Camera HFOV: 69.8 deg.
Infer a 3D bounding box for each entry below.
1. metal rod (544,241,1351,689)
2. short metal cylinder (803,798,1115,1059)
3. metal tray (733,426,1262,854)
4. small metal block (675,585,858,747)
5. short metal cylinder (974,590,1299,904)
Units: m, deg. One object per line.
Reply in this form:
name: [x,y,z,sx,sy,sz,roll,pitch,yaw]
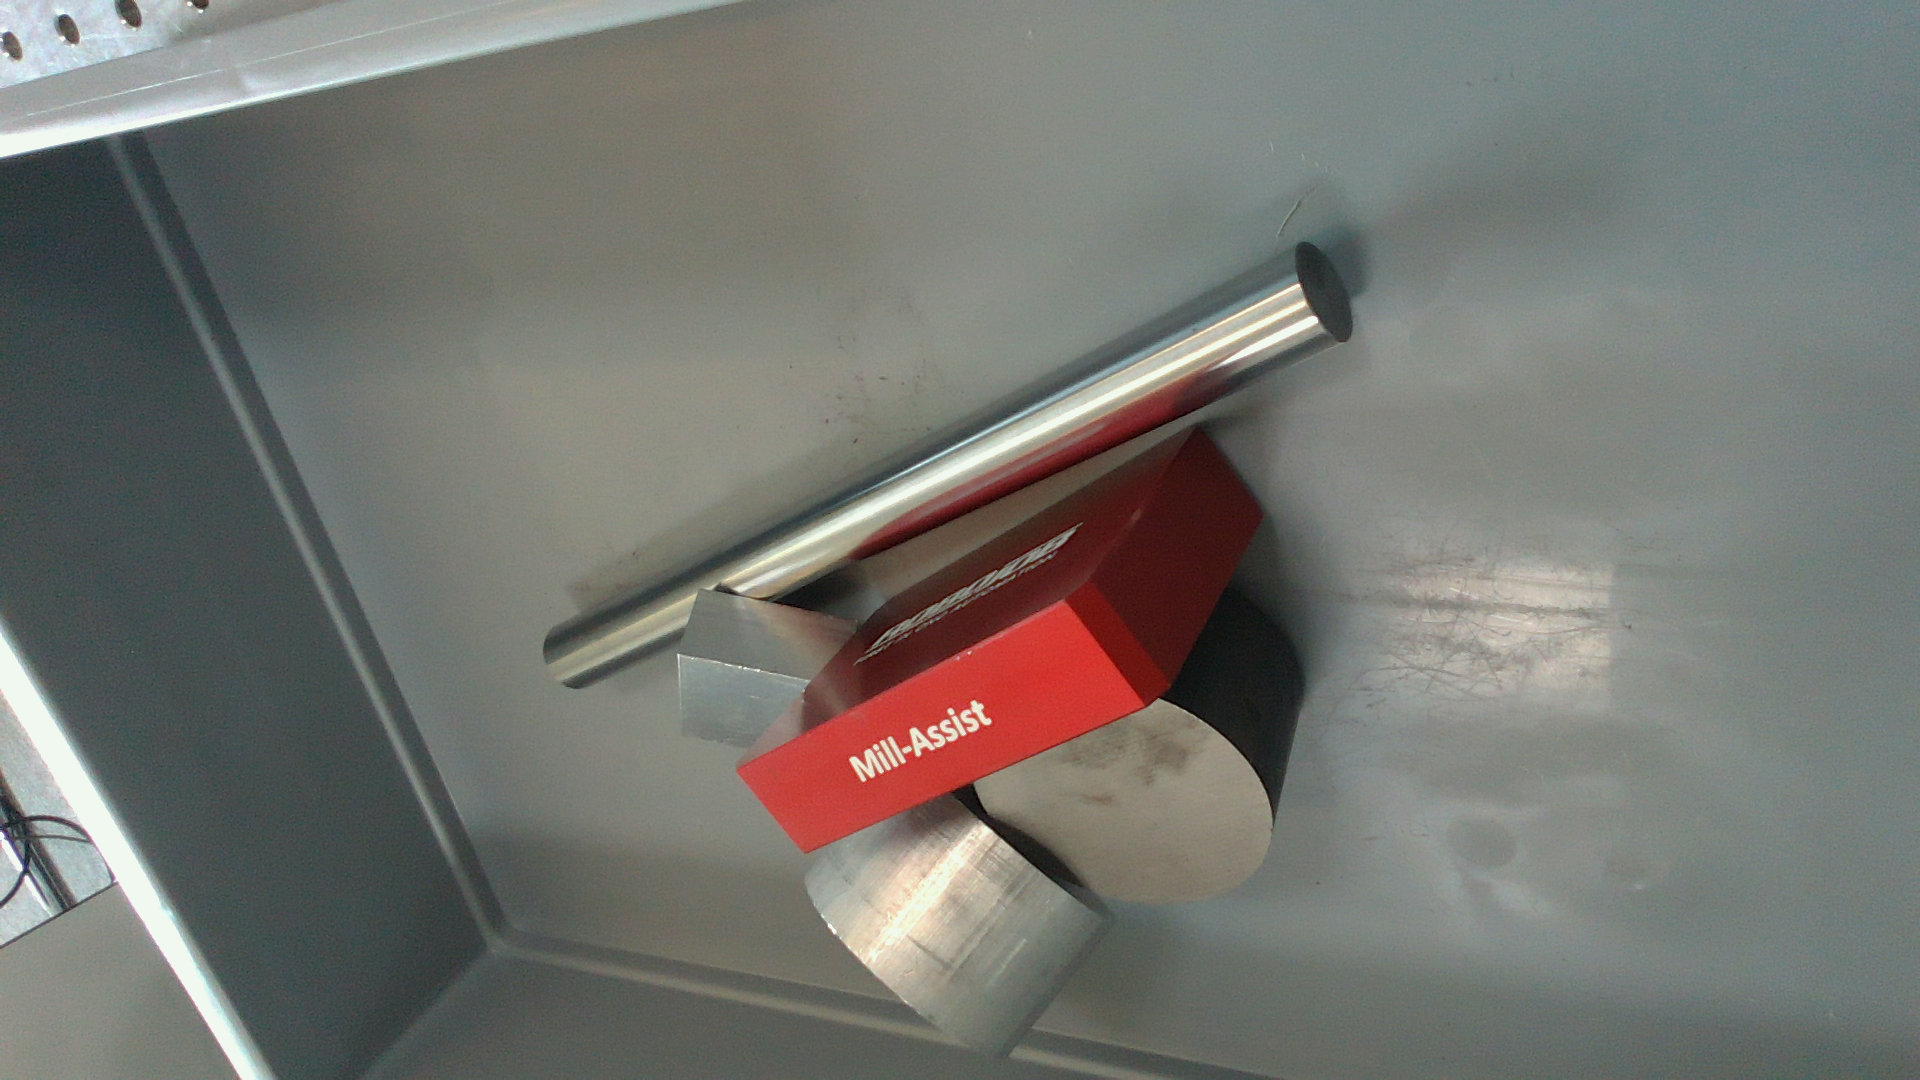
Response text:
metal rod: [-0.027,-0.008,0.401,0.299,0.025,0.025,-24,106,37]
short metal cylinder: [0.000,0.107,0.413,0.080,0.080,0.050,40,88,1]
metal tray: [0.009,0.027,0.361,0.130,0.090,0.030,-30,102,38]
small metal block: [-0.061,0.044,0.435,0.050,0.025,0.050,12,142,-1]
short metal cylinder: [0.049,0.053,0.375,0.080,0.050,0.080,12,131,14]
